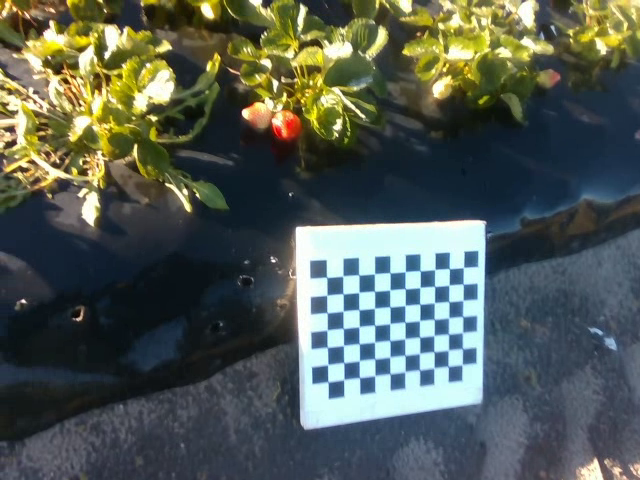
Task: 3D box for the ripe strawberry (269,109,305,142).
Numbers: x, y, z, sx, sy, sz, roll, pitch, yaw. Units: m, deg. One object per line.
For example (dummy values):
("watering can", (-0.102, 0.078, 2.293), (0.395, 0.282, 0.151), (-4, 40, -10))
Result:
("ripe strawberry", (-0.038, -0.134, 0.827), (0.040, 0.038, 0.056), (-16, 15, 6))
